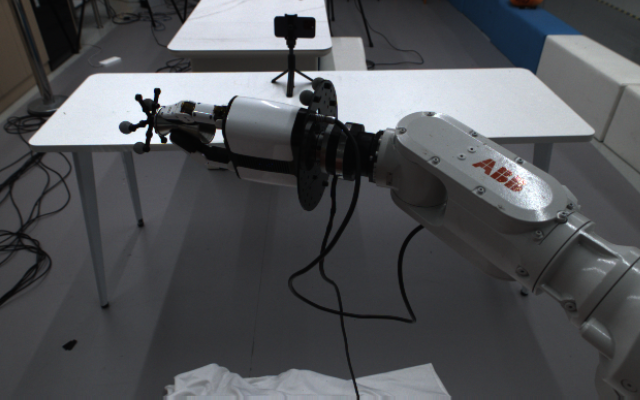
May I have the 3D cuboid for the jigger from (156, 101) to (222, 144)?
[{"bbox_3d":[-0.172,-0.104,0.635,0.071,0.043,0.043,9,35,16],"label":"jigger"}]
